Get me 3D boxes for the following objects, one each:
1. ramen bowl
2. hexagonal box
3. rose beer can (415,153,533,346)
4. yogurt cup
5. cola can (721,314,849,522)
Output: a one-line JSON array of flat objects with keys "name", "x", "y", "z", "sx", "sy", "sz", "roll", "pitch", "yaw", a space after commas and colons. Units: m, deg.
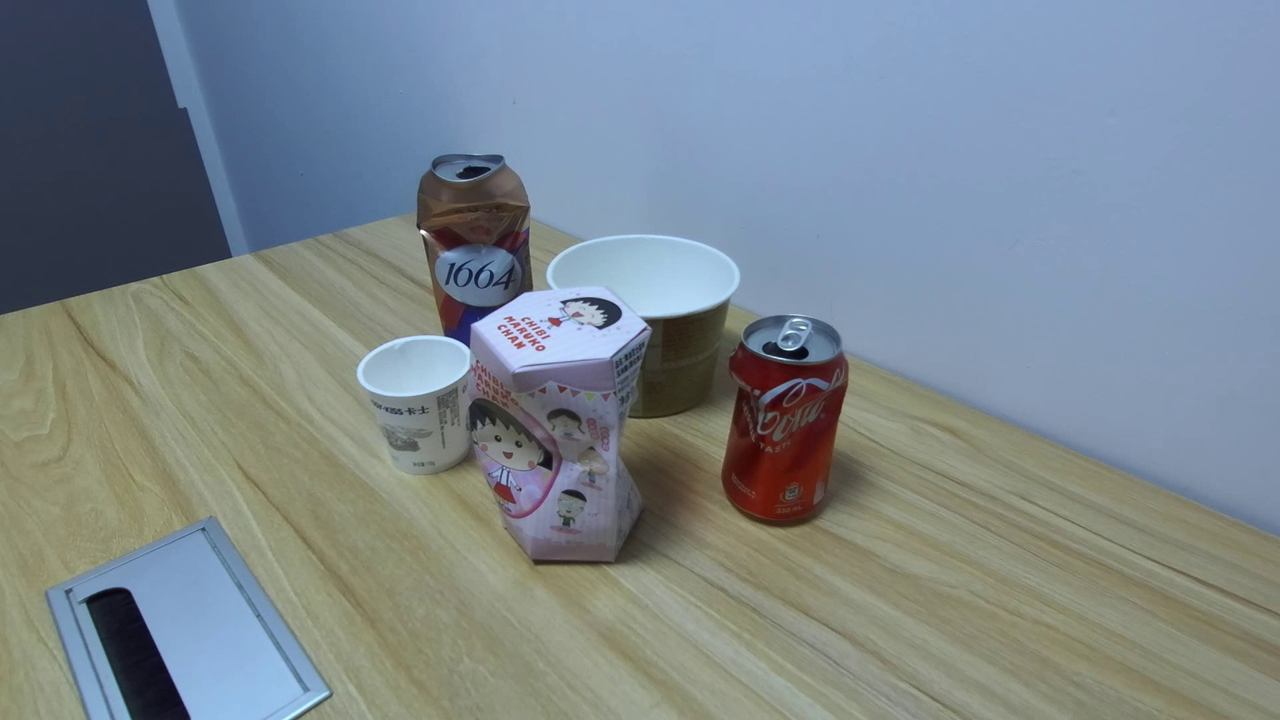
[{"name": "ramen bowl", "x": 0.001, "y": -0.024, "z": 0.532, "sx": 0.140, "sy": 0.095, "sz": 0.140, "roll": 1, "pitch": 30, "yaw": 0}, {"name": "hexagonal box", "x": -0.042, "y": 0.036, "z": 0.393, "sx": 0.088, "sy": 0.135, "sz": 0.093, "roll": 11, "pitch": 33, "yaw": 16}, {"name": "rose beer can", "x": -0.122, "y": -0.072, "z": 0.541, "sx": 0.074, "sy": 0.162, "sz": 0.067, "roll": -19, "pitch": 34, "yaw": -30}, {"name": "yogurt cup", "x": -0.140, "y": 0.031, "z": 0.460, "sx": 0.072, "sy": 0.068, "sz": 0.072, "roll": 0, "pitch": 31, "yaw": 0}, {"name": "cola can", "x": 0.083, "y": 0.033, "z": 0.414, "sx": 0.066, "sy": 0.117, "sz": 0.066, "roll": -10, "pitch": 33, "yaw": -15}]
